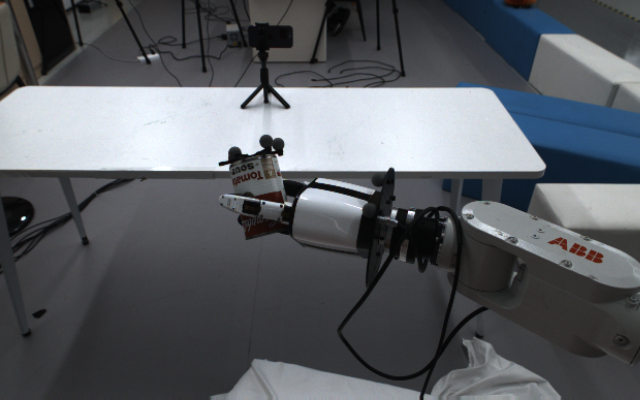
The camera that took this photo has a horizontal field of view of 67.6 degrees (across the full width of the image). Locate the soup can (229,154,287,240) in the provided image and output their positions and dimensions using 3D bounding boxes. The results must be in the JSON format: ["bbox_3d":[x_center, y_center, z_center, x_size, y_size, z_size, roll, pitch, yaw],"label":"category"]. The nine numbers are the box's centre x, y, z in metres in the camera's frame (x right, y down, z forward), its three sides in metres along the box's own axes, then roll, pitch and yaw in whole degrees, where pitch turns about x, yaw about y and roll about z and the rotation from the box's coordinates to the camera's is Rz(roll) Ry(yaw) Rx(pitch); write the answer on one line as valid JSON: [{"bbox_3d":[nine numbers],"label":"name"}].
[{"bbox_3d":[-0.077,-0.002,0.649,0.067,0.101,0.067,-14,-2,-1],"label":"soup can"}]
